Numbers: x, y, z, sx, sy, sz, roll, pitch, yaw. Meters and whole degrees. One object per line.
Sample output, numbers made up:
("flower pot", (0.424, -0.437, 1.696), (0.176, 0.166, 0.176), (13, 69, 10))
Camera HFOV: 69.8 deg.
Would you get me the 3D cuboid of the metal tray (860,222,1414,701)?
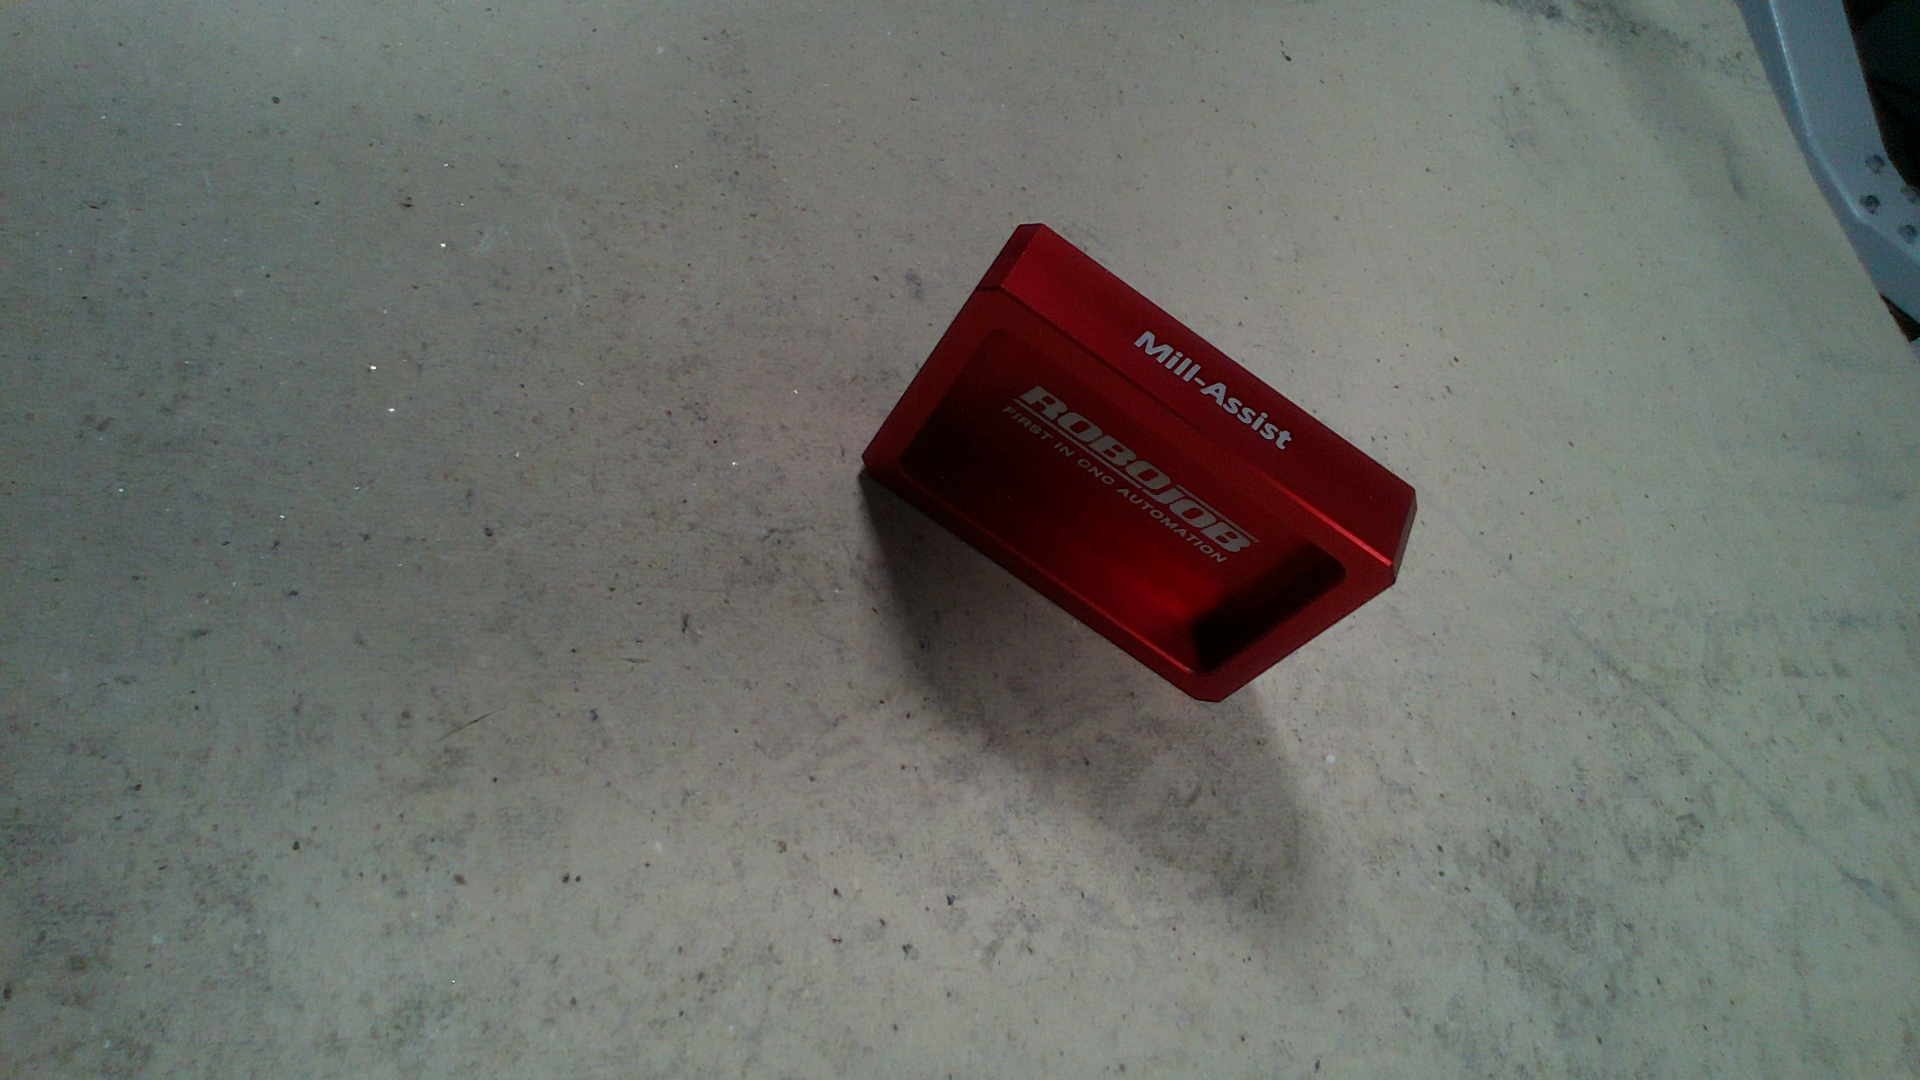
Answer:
("metal tray", (0.046, -0.017, 0.383), (0.130, 0.090, 0.030), (34, 51, -6))
